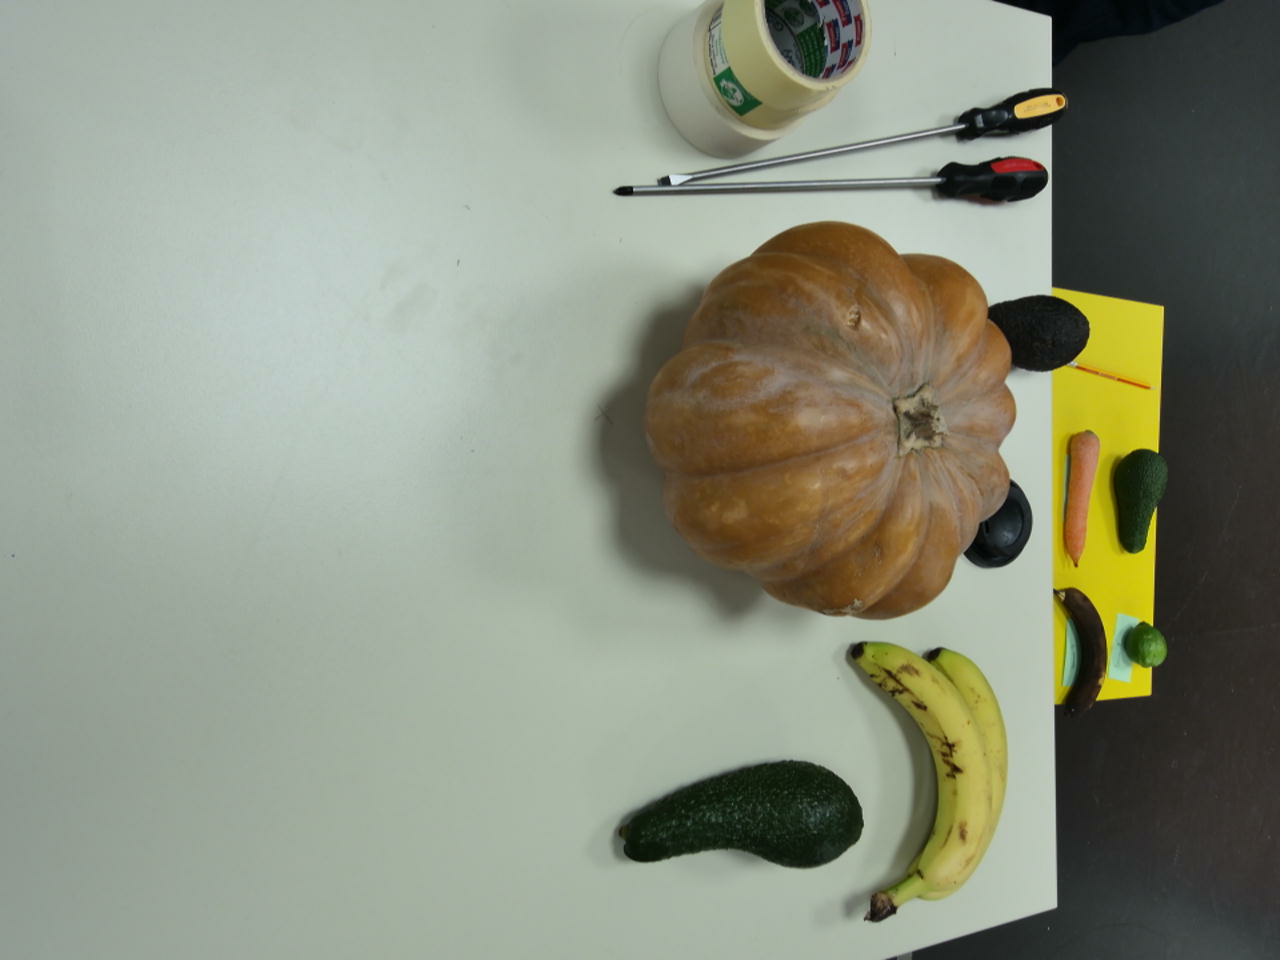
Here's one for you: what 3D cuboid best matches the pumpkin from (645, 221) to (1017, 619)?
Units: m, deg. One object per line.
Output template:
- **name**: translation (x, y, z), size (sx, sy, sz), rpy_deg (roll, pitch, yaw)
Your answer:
- **pumpkin**: translation (0.134, -0.039, 0.683), size (0.277, 0.181, 0.277), rpy_deg (0, 91, -29)
